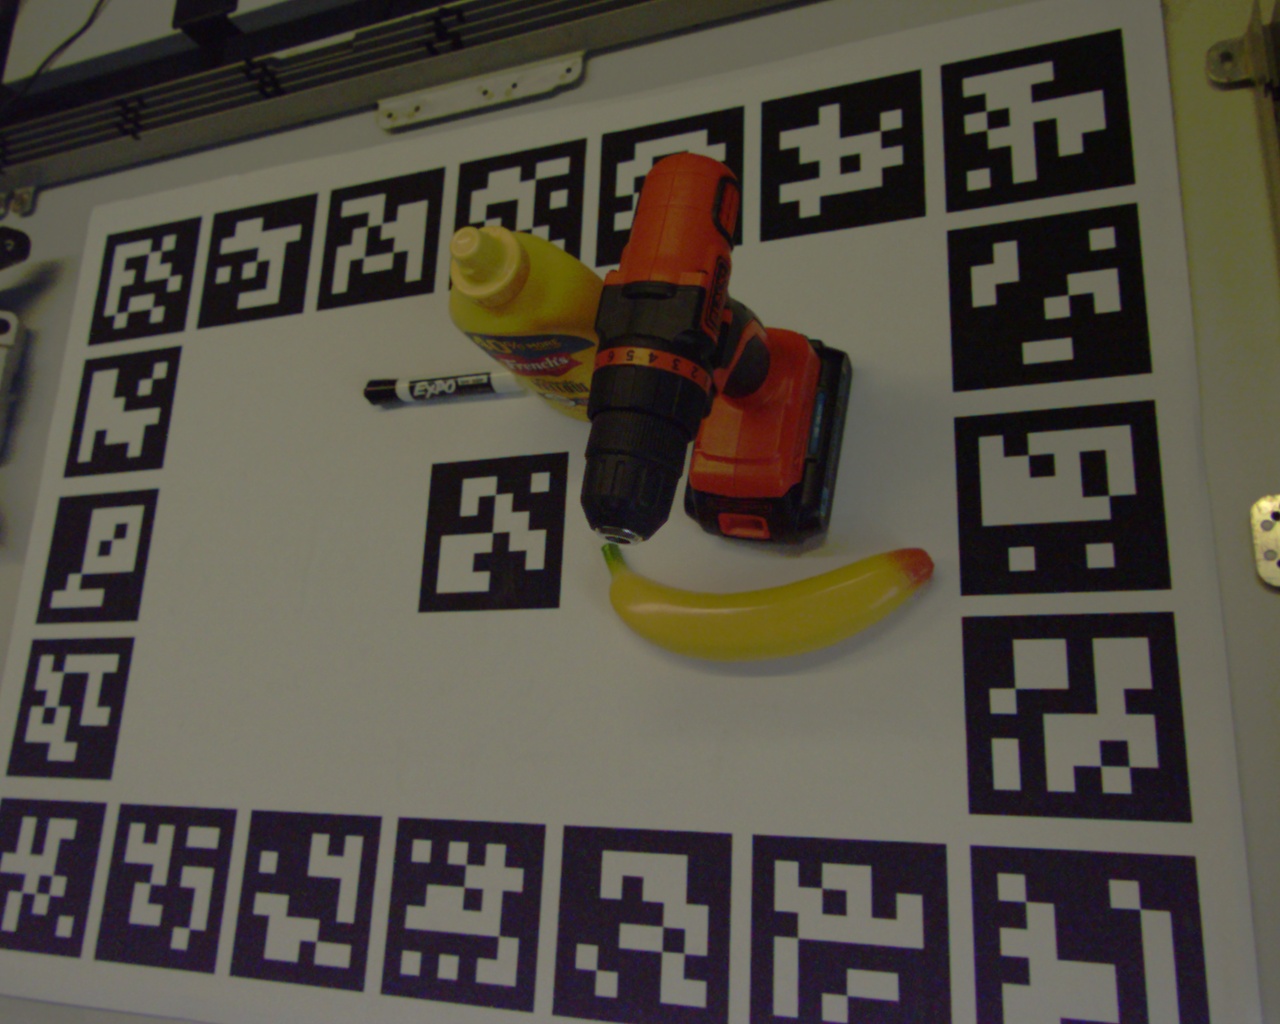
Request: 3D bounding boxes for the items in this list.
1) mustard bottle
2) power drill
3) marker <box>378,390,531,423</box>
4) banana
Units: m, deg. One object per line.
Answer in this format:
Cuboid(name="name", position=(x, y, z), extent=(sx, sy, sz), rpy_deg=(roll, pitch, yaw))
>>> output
Cuboid(name="mustard bottle", position=(-0.050, -0.094, 0.698), extent=(0.097, 0.189, 0.058), rpy_deg=(8, 80, 23))
Cuboid(name="power drill", position=(0.041, -0.041, 0.628), extent=(0.058, 0.185, 0.184), rpy_deg=(11, 78, 22))
Cuboid(name="marker", position=(-0.137, -0.076, 0.825), extent=(0.122, 0.019, 0.019), rpy_deg=(-2, 77, 22))
Cuboid(name="banana", position=(0.063, 0.067, 0.696), extent=(0.199, 0.038, 0.074), rpy_deg=(5, 80, 25))
